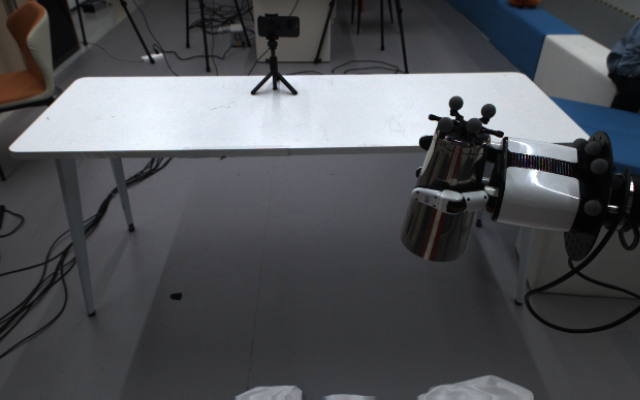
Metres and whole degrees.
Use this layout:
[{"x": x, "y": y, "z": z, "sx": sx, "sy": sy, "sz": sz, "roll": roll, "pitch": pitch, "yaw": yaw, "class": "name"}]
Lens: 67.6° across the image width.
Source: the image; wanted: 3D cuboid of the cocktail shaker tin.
[{"x": 0.168, "y": -0.015, "z": 0.631, "sx": 0.093, "sy": 0.170, "sz": 0.093, "roll": 4, "pitch": 36, "yaw": -3, "class": "cocktail shaker tin"}]
